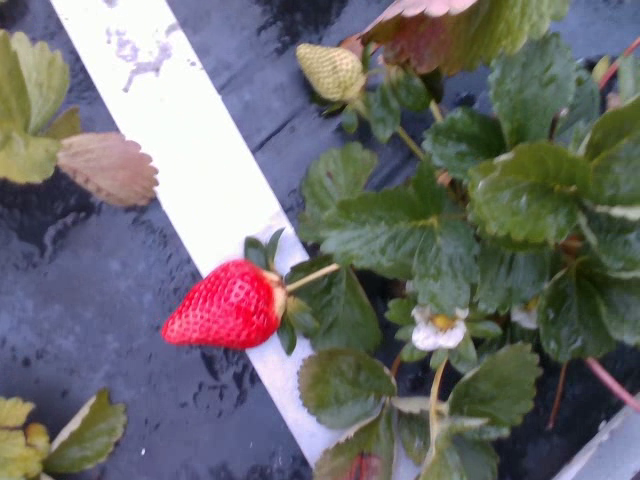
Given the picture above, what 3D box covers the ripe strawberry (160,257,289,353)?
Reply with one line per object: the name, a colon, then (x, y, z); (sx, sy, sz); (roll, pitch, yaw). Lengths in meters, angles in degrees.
ripe strawberry: (-0.040, 0.028, 0.246); (0.051, 0.042, 0.037); (-19, 27, -17)
